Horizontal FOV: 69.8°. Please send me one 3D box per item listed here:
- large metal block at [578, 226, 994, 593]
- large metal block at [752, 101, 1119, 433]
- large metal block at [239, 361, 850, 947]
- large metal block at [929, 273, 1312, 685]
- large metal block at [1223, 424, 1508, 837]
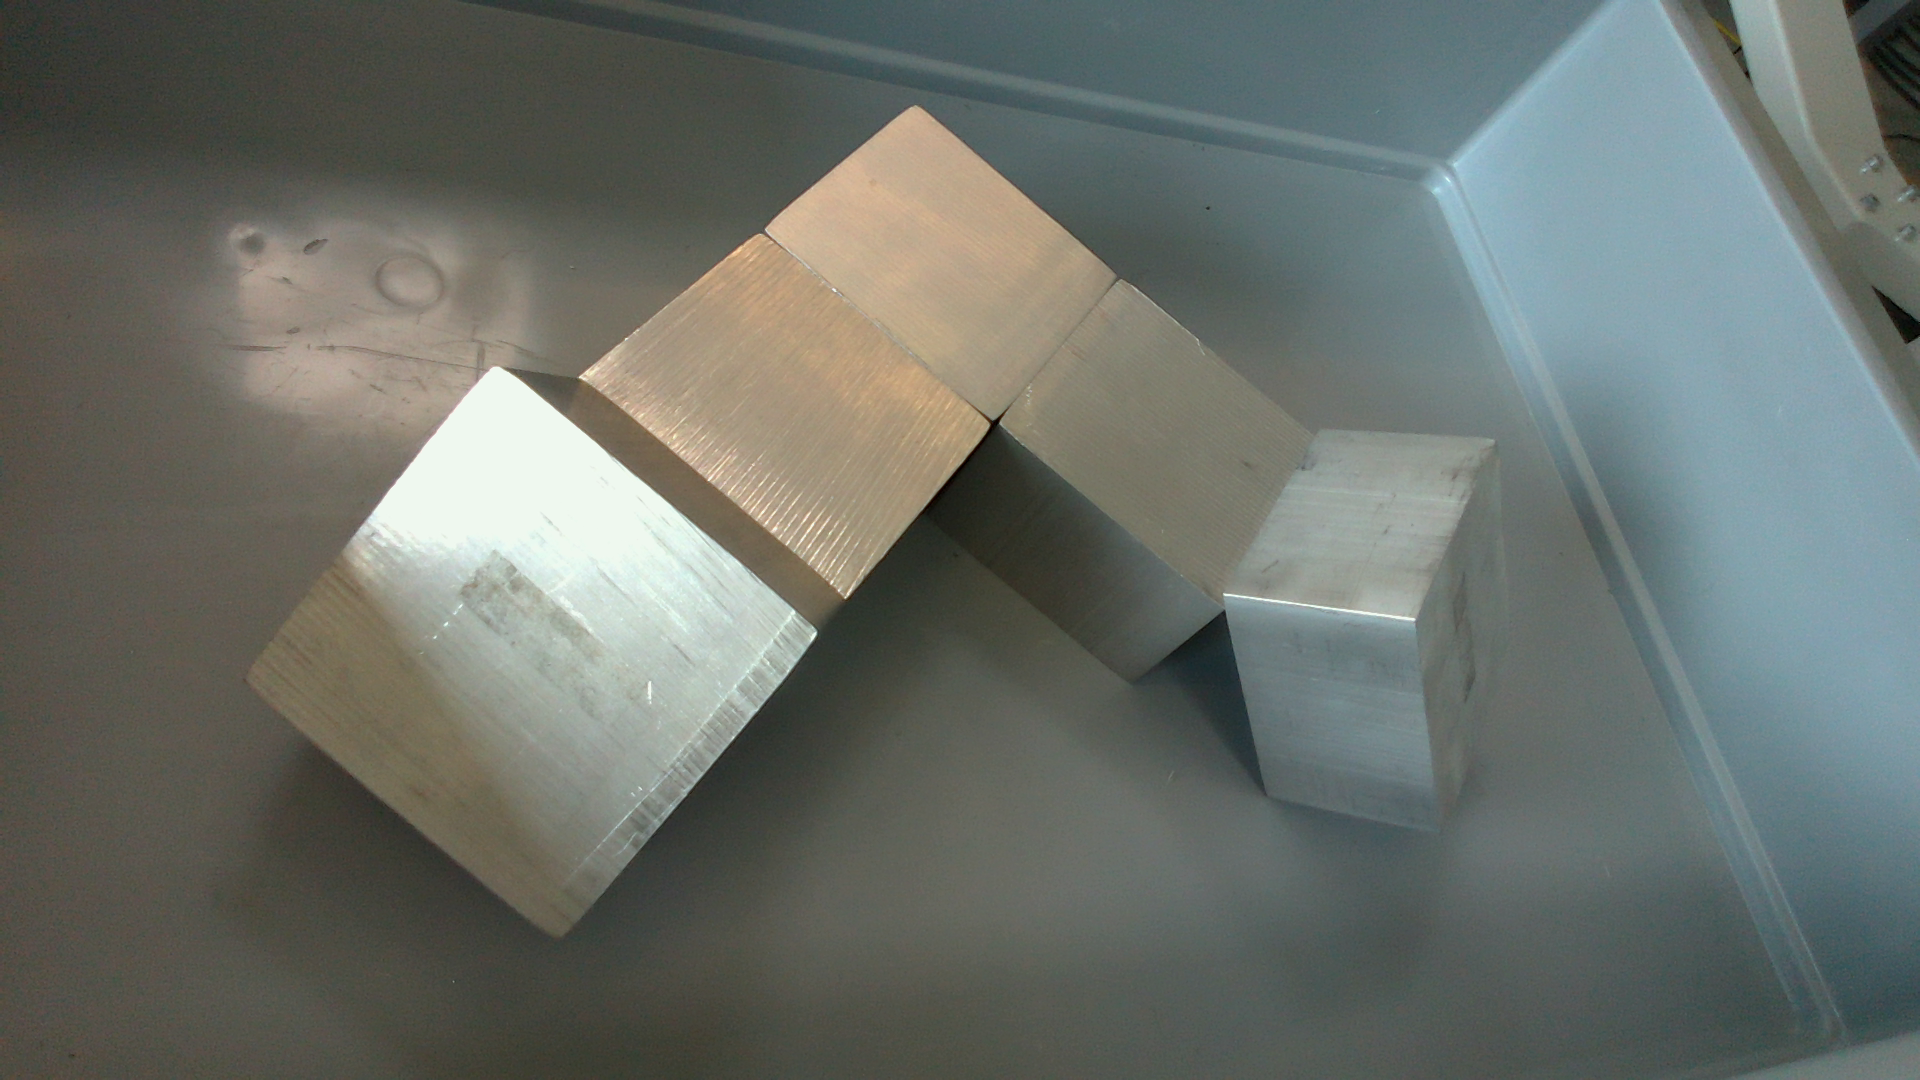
[{"bbox_3d":[-0.051,-0.021,0.357,0.080,0.050,0.080,39,51,-1],"label":"large metal block"},{"bbox_3d":[-0.012,-0.070,0.408,0.080,0.050,0.080,39,51,-1],"label":"large metal block"},{"bbox_3d":[-0.081,0.021,0.287,0.080,0.050,0.080,39,93,-1],"label":"large metal block"},{"bbox_3d":[0.050,-0.019,0.410,0.080,0.050,0.080,39,51,-1],"label":"large metal block"},{"bbox_3d":[0.120,0.024,0.395,0.080,0.050,0.080,-52,135,-39],"label":"large metal block"}]
